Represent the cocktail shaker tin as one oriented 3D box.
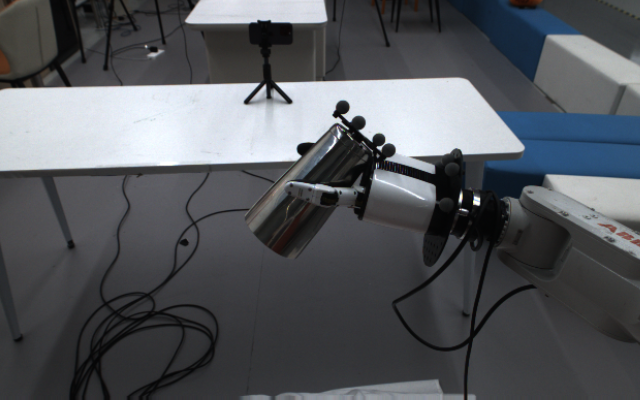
[{"bbox_3d":[-0.009,-0.019,0.637,0.093,0.170,0.093,41,13,-11],"label":"cocktail shaker tin"}]
